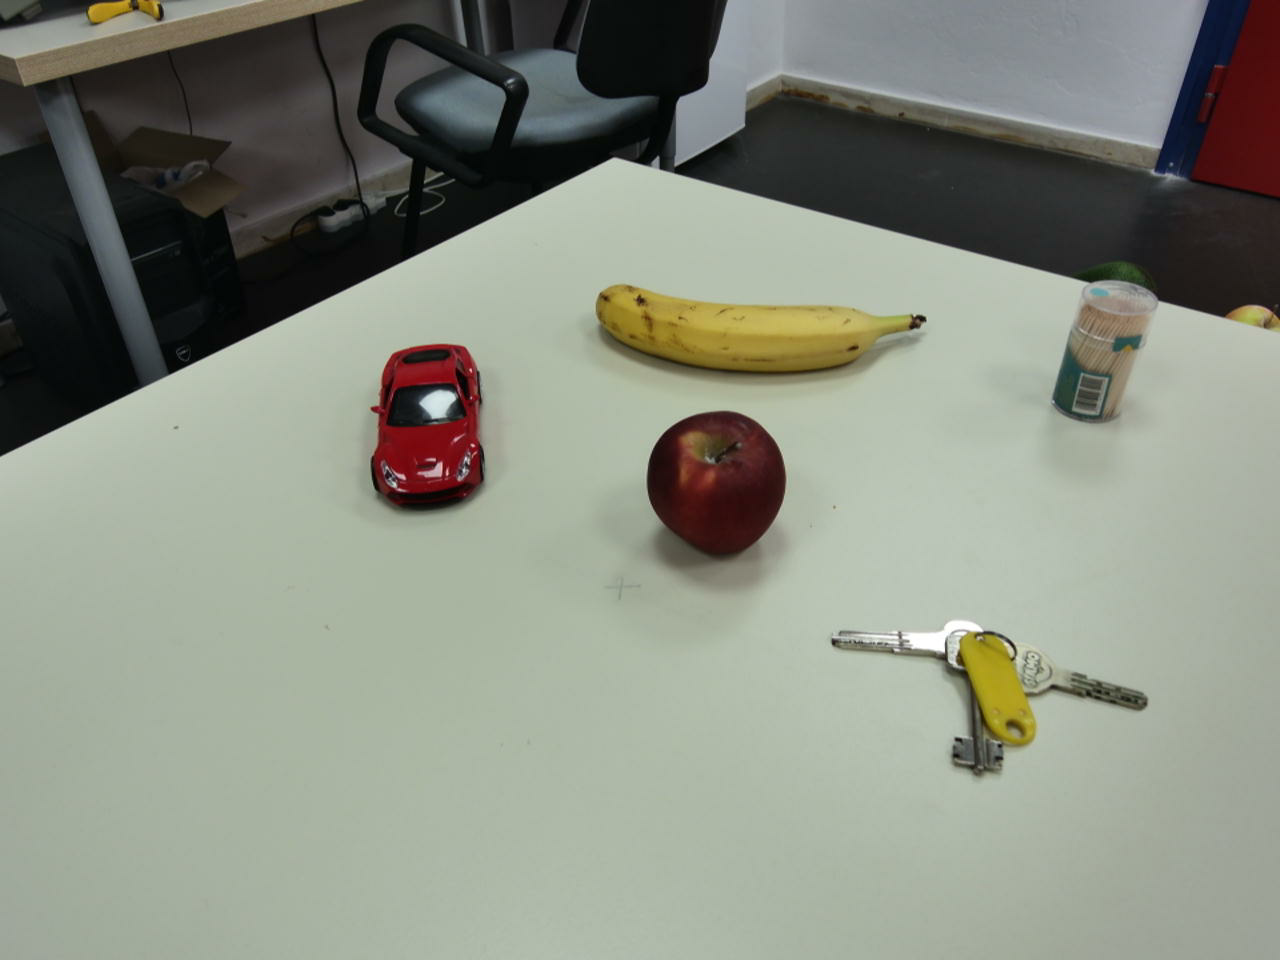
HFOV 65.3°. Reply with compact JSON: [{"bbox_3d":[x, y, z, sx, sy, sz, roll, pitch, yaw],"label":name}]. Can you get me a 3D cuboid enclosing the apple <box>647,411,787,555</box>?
[{"bbox_3d":[0.038,0.002,0.497,0.070,0.072,0.070,1,37,0],"label":"apple"}]
